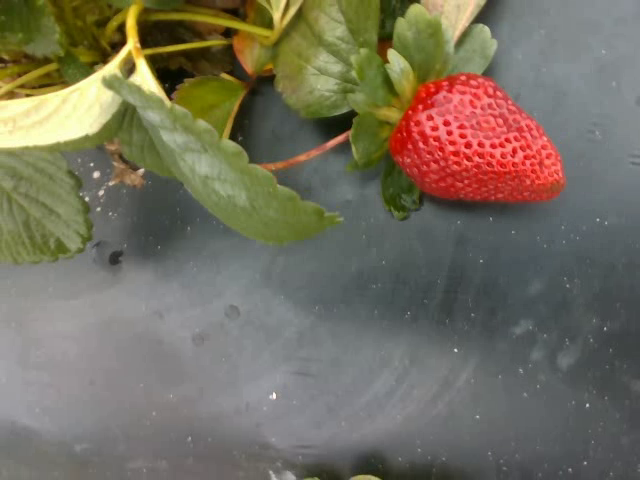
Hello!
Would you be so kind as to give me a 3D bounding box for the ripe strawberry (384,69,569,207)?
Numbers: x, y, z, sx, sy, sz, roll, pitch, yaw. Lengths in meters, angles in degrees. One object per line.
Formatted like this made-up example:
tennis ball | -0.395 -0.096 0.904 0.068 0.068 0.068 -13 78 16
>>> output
ripe strawberry | 0.051 -0.028 0.191 0.048 0.046 0.064 -39 57 -20
